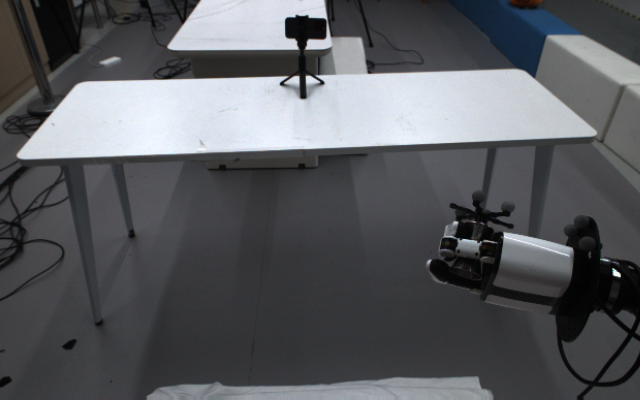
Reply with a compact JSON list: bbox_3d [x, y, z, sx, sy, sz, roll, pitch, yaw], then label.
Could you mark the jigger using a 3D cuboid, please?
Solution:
[{"bbox_3d":[0.202,0.064,0.641,0.043,0.043,0.071,16,70,19],"label":"jigger"}]
